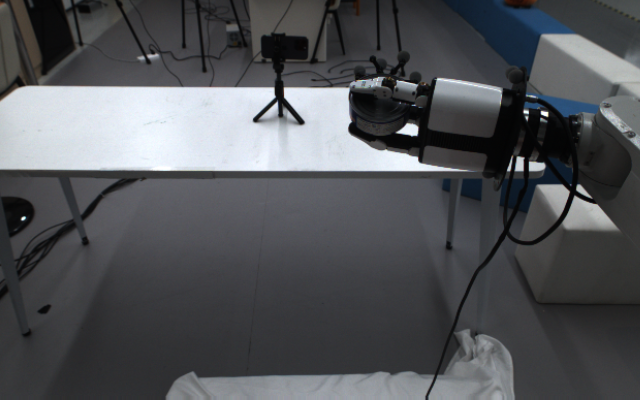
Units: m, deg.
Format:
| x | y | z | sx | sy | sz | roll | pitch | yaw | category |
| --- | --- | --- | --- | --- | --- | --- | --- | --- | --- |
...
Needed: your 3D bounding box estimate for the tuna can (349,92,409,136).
| x | y | z | sx | sy | sz | roll | pitch | yaw | category |
| --- | --- | --- | --- | --- | --- | --- | --- | --- | --- |
| 0.081 | -0.133 | 0.659 | 0.085 | 0.034 | 0.085 | -2 | 58 | 3 | tuna can |
